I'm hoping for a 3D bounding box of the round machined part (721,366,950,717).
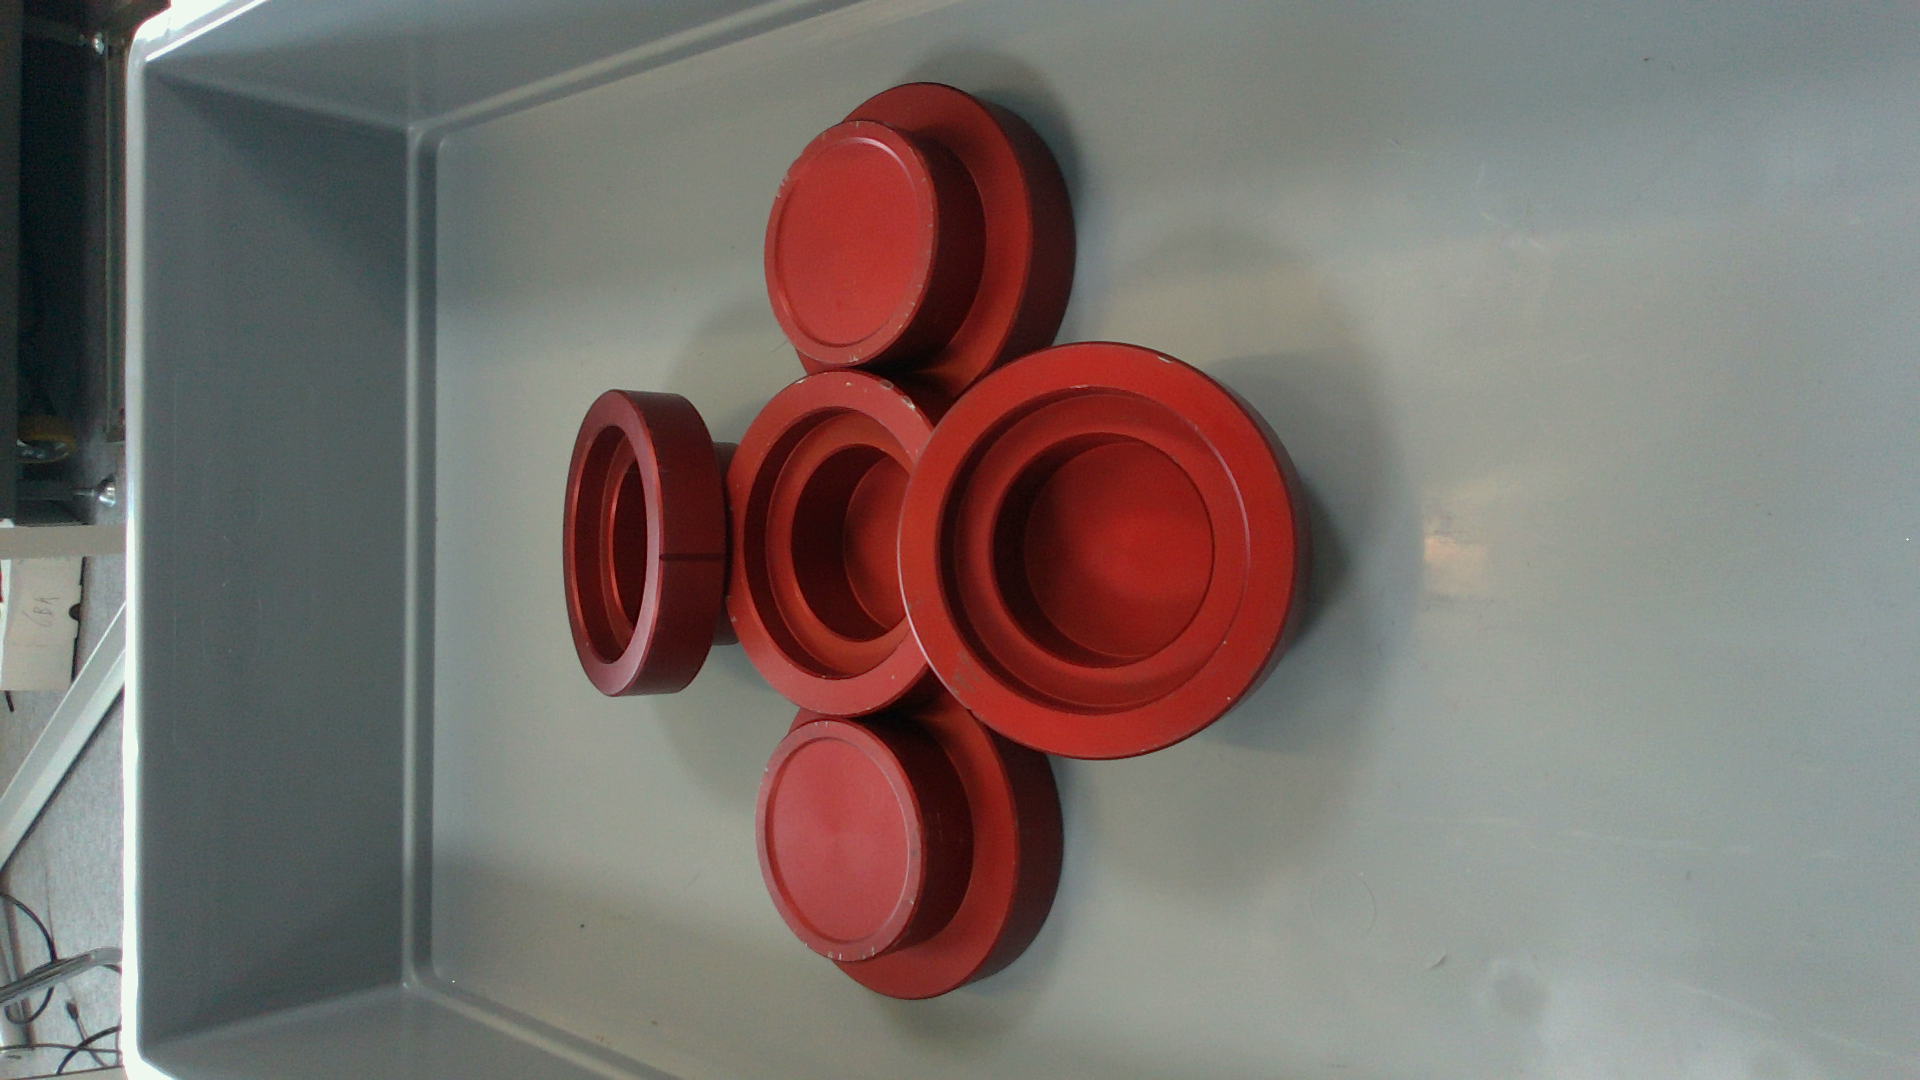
[{"bbox_3d":[-0.024,0.000,0.401,0.098,0.042,0.098,0,90,40],"label":"round machined part"}]

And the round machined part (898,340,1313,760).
[{"bbox_3d":[0.038,0.002,0.340,0.098,0.042,0.098,0,90,24],"label":"round machined part"}]

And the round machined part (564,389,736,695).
[{"bbox_3d":[-0.095,0.001,0.451,0.098,0.042,0.098,0,89,58],"label":"round machined part"}]

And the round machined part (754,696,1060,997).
[{"bbox_3d":[-0.022,0.084,0.401,0.098,0.042,0.098,0,90,40],"label":"round machined part"}]

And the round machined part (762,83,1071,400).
[{"bbox_3d":[-0.019,-0.083,0.398,0.098,0.042,0.098,0,90,40],"label":"round machined part"}]
